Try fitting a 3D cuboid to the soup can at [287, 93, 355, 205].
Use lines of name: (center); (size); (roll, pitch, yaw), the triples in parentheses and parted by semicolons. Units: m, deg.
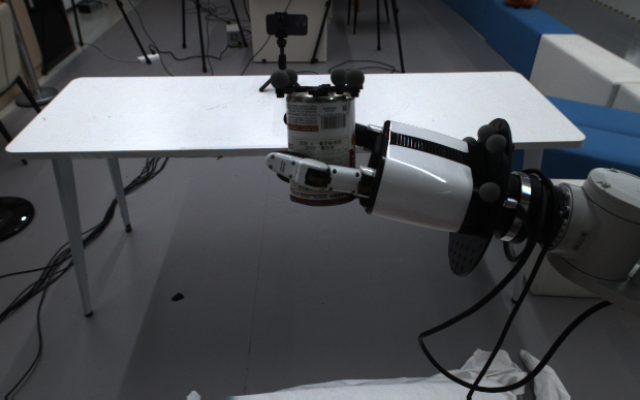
soup can: (0.004, -0.051, 0.473); (0.067, 0.101, 0.067); (-1, 17, 0)
